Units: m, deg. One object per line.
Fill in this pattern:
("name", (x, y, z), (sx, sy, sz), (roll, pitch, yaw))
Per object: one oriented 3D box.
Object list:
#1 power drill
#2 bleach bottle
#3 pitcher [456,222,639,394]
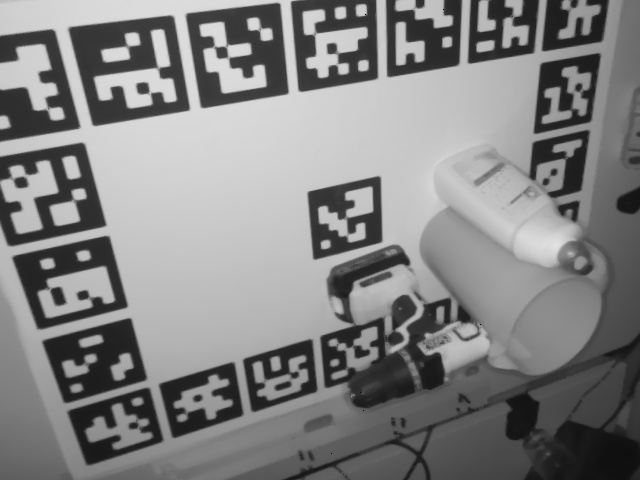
("power drill", (0.115, 0.114, 0.828), (0.185, 0.187, 0.057), (-16, 117, -7))
("bleach bottle", (0.282, -0.022, 0.796), (0.103, 0.250, 0.067), (-21, 120, -11))
("pitcher", (0.275, 0.062, 0.857), (0.189, 0.242, 0.133), (-37, 121, -1))
